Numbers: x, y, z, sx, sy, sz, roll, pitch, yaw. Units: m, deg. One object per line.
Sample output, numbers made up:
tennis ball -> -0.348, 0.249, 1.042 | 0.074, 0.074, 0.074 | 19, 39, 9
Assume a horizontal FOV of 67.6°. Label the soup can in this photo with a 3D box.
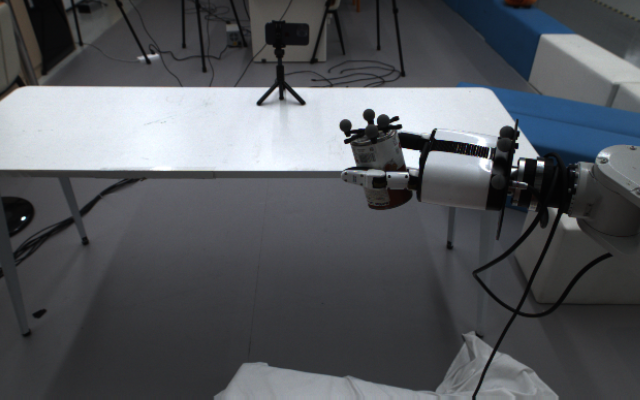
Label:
soup can -> 0.087, -0.047, 0.678 | 0.067, 0.101, 0.067 | -16, 22, 7
